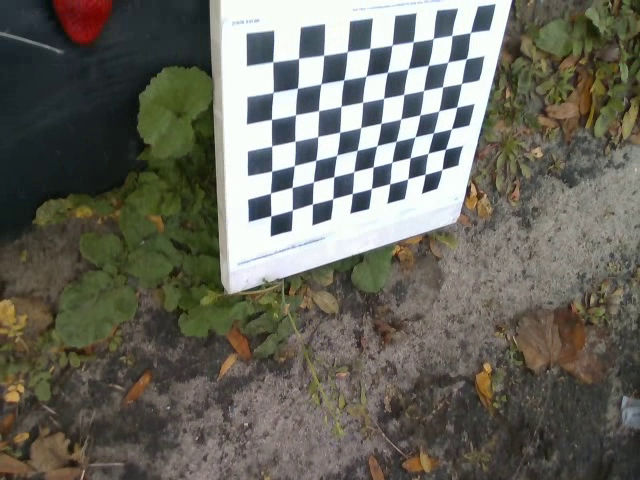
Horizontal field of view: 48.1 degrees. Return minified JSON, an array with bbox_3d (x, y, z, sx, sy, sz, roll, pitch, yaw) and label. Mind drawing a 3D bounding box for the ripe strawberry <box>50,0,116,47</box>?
[{"bbox_3d":[-0.097,-0.091,0.325,0.029,0.033,0.022,1,29,-33],"label":"ripe strawberry"}]
